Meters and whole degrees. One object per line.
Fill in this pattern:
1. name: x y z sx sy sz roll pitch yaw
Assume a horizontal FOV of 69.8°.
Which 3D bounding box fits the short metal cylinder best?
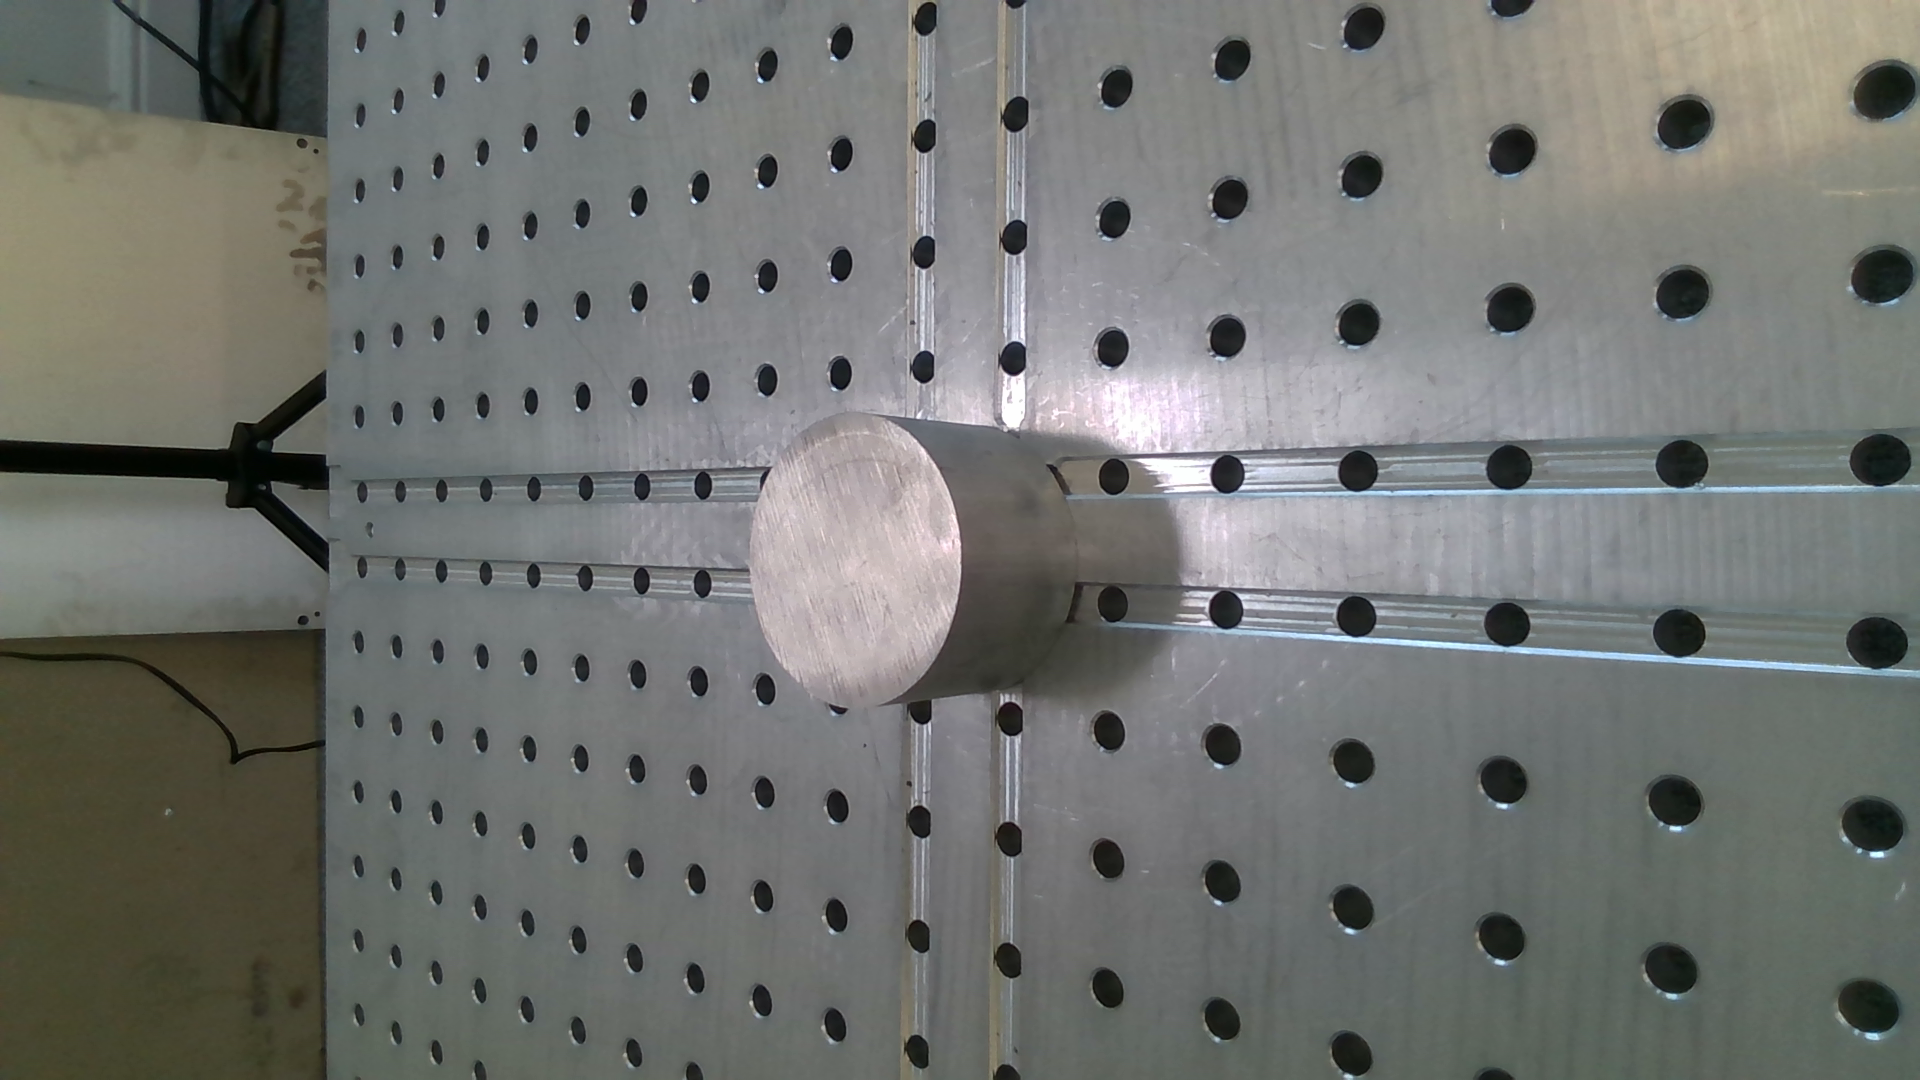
1. short metal cylinder: -0.015 0.005 0.389 0.080 0.050 0.080 0 90 40
